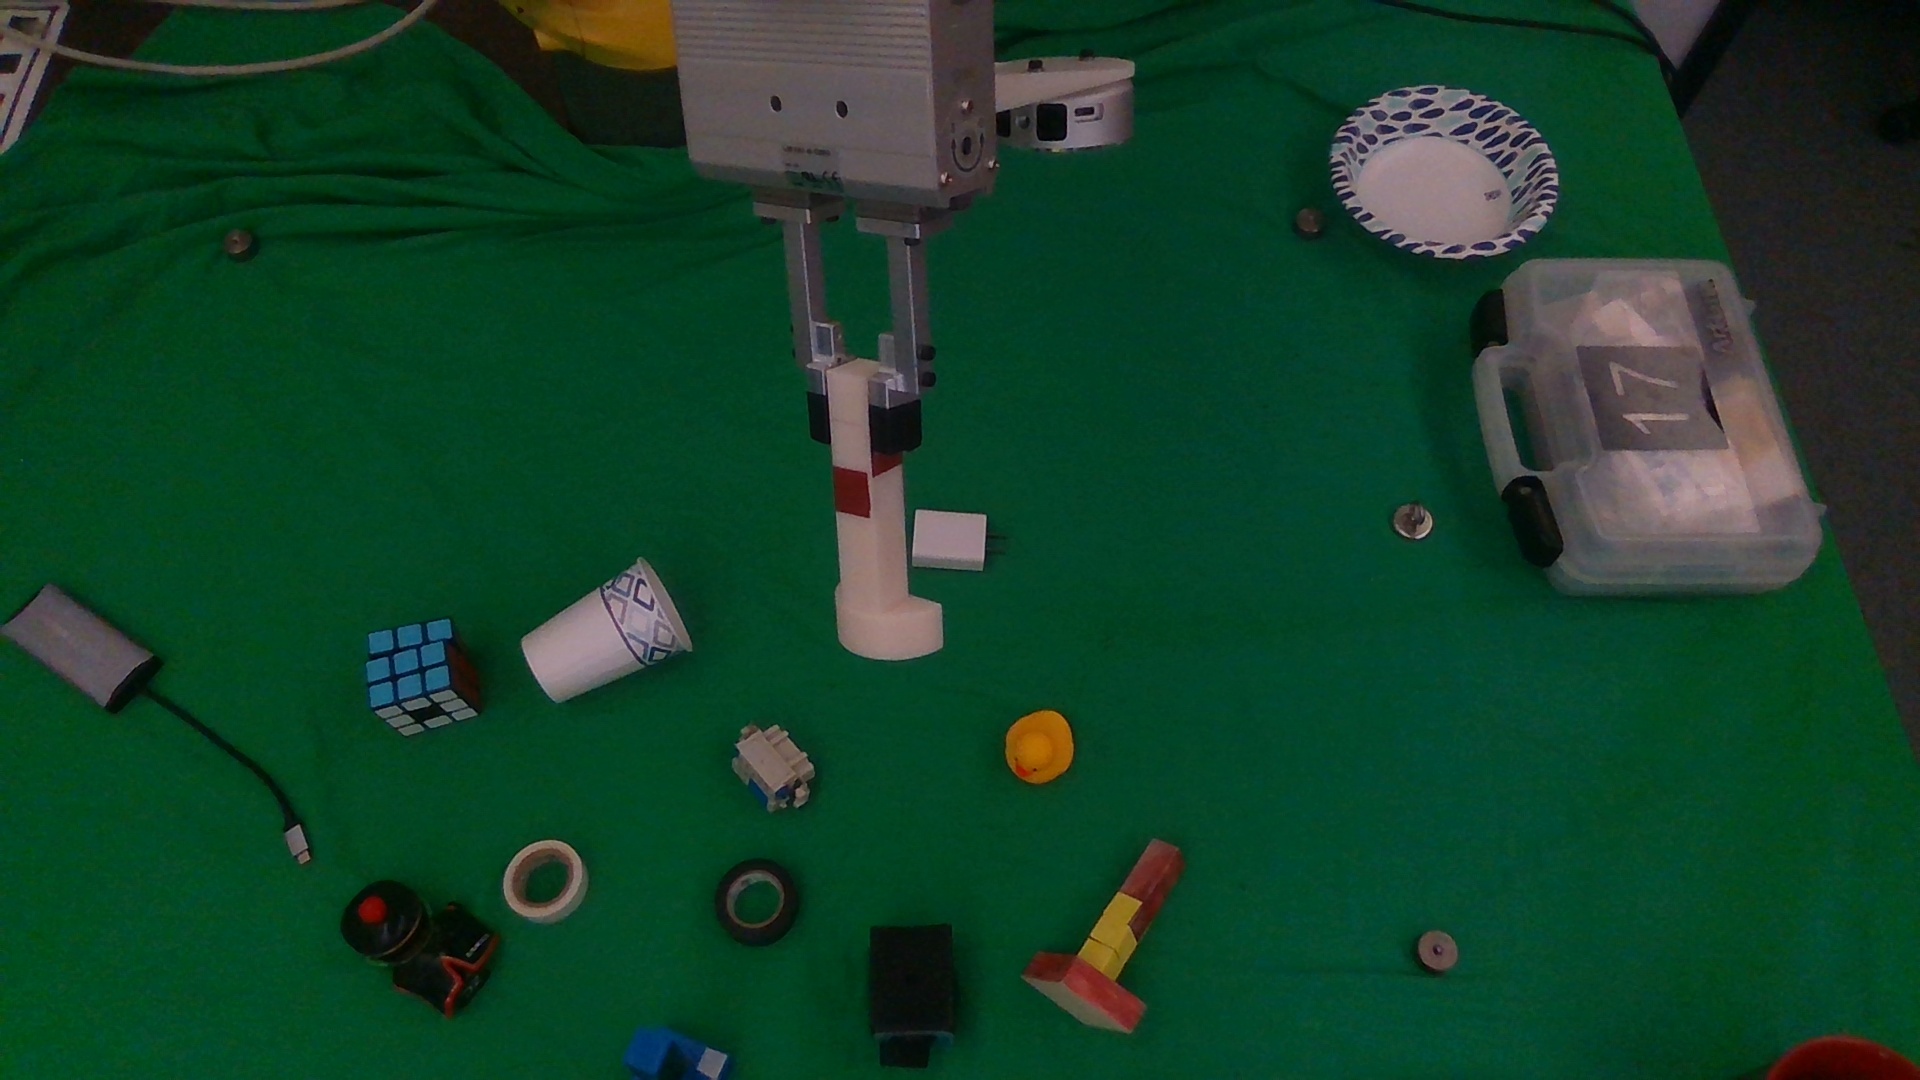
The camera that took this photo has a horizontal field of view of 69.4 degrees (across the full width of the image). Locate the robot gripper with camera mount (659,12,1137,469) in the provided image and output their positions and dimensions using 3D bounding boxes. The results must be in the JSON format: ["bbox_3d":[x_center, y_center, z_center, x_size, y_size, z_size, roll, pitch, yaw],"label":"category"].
[{"bbox_3d":[0.000,-0.133,0.559,0.119,0.158,0.193,14,29,34],"label":"robot gripper with camera mount"}]

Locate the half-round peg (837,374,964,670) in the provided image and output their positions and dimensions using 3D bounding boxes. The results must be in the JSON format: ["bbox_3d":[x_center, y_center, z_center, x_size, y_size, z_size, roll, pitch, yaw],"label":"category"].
[{"bbox_3d":[-0.027,-0.008,0.555,0.054,0.122,0.031,11,23,24],"label":"half-round peg"}]
